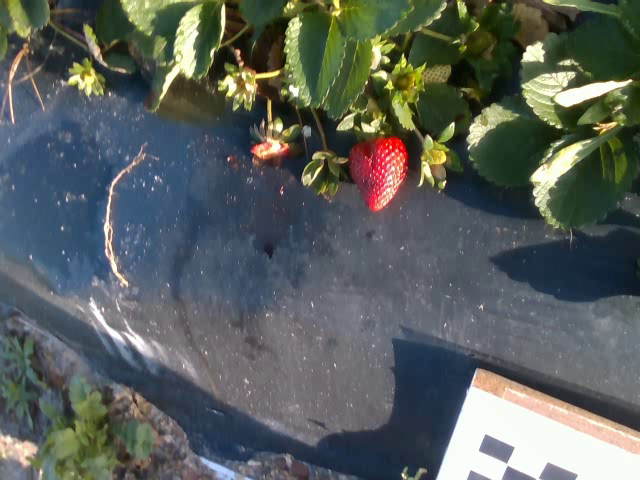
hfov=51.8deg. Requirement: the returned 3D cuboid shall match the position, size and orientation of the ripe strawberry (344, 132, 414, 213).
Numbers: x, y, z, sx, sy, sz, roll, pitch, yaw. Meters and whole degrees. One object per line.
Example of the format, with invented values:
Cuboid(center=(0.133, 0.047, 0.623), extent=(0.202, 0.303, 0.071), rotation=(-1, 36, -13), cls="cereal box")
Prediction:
Cuboid(center=(0.039, -0.043, 0.456), extent=(0.052, 0.052, 0.041), rotation=(-8, -31, 34), cls="ripe strawberry")
